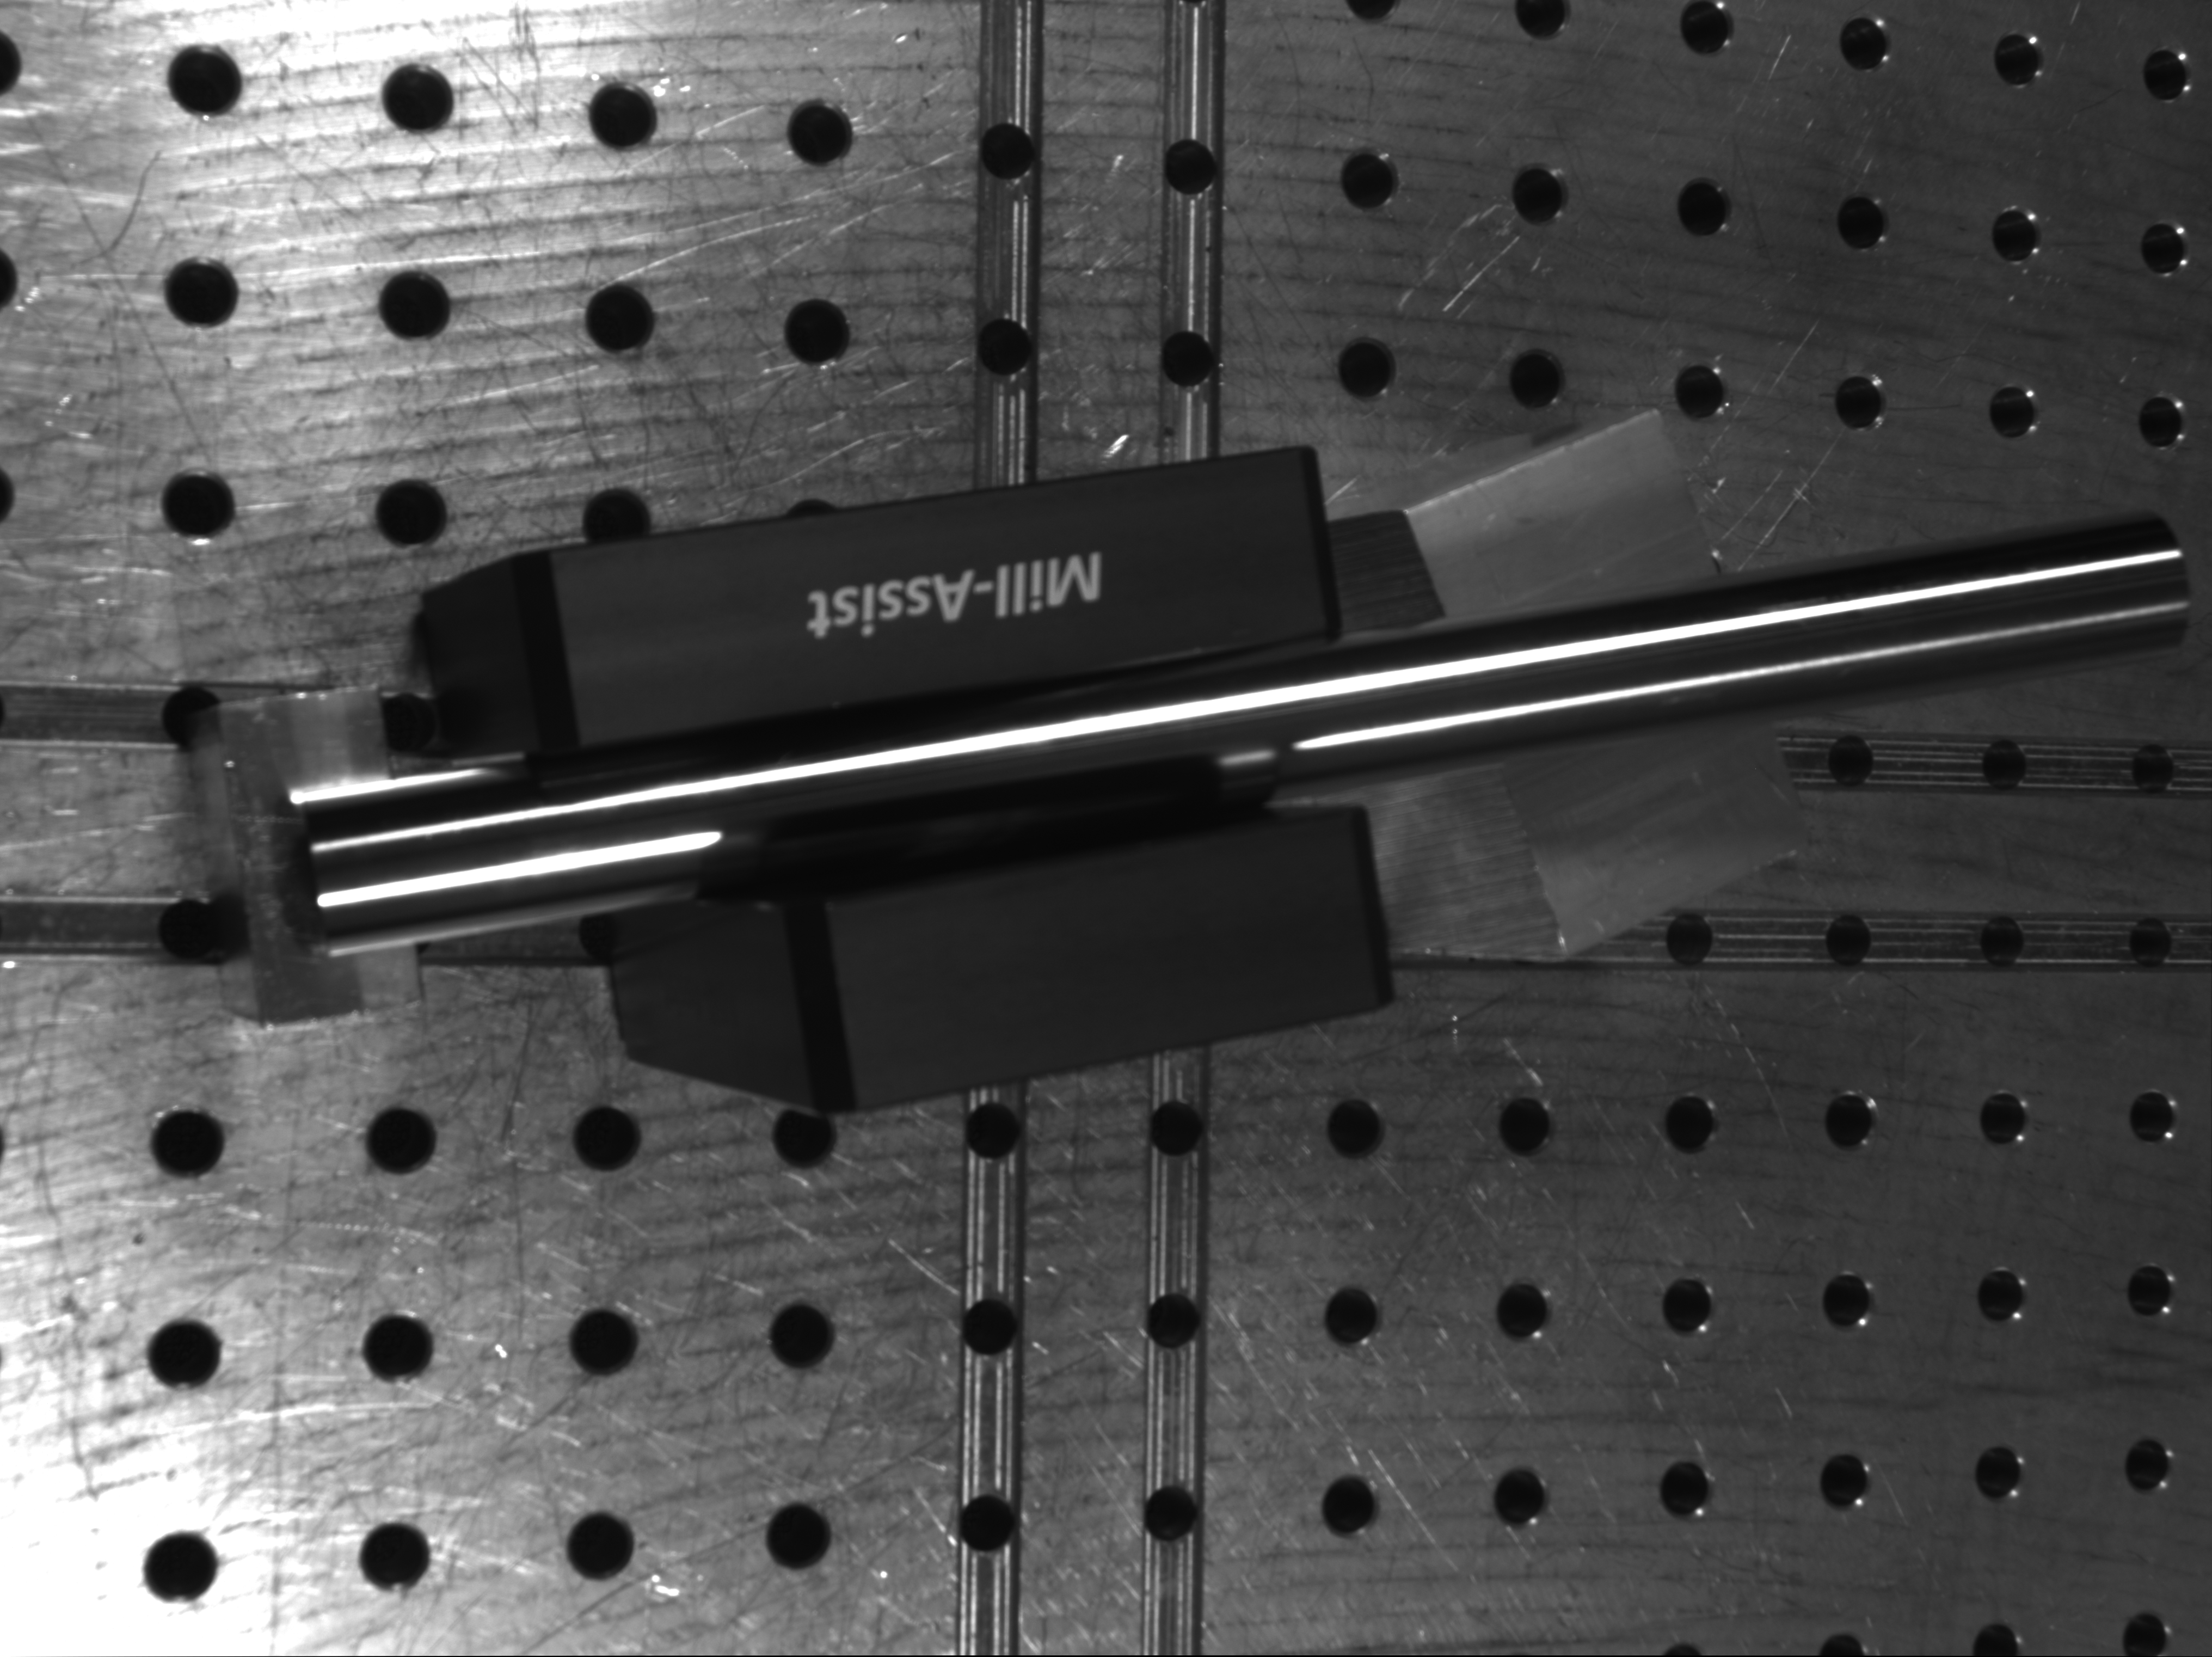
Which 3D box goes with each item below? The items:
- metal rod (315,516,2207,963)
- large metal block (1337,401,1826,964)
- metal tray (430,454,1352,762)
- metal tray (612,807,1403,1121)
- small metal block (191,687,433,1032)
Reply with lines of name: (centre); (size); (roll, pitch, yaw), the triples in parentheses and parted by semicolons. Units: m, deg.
metal rod: (0.029, -0.016, 0.576); (0.300, 0.025, 0.025); (-9, 93, -10)
large metal block: (0.072, -0.024, 0.642); (0.050, 0.080, 0.080); (-24, 98, -18)
metal tray: (-0.037, -0.035, 0.597); (0.130, 0.090, 0.030); (-9, 94, -20)
metal tray: (-0.020, 0.019, 0.583); (0.090, 0.130, 0.030); (-10, 94, -20)
small metal block: (-0.128, 0.005, 0.586); (0.025, 0.050, 0.050); (-9, 93, -20)
